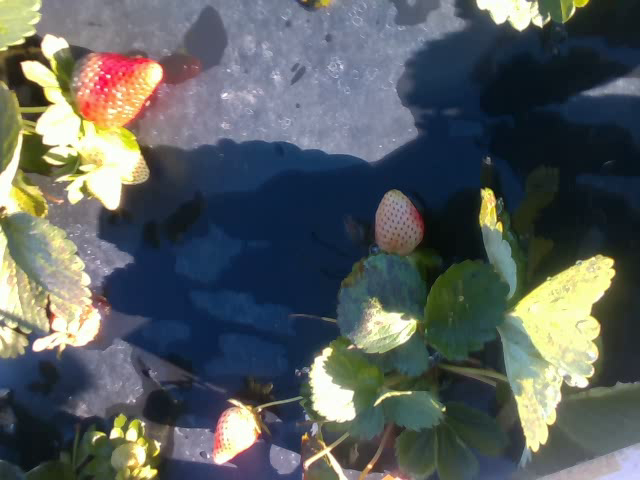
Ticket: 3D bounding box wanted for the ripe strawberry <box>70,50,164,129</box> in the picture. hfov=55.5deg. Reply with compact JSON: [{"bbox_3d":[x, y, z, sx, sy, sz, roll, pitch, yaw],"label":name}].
[{"bbox_3d":[-0.109,-0.088,0.337,0.064,0.052,0.050,-17,-38,25],"label":"ripe strawberry"}]
